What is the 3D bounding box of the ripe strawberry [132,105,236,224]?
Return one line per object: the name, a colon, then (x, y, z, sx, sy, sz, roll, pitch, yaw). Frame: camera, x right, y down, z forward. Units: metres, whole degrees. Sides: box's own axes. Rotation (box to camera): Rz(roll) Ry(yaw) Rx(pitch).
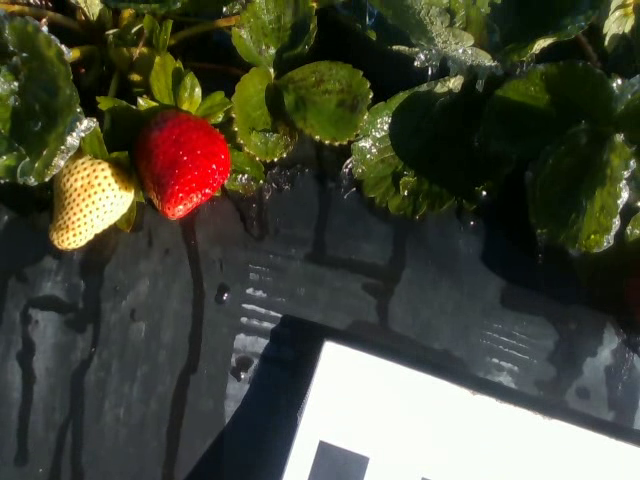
ripe strawberry: (-0.059, -0.025, 0.277, 0.042, 0.046, 0.061, 4, 44, -1)
